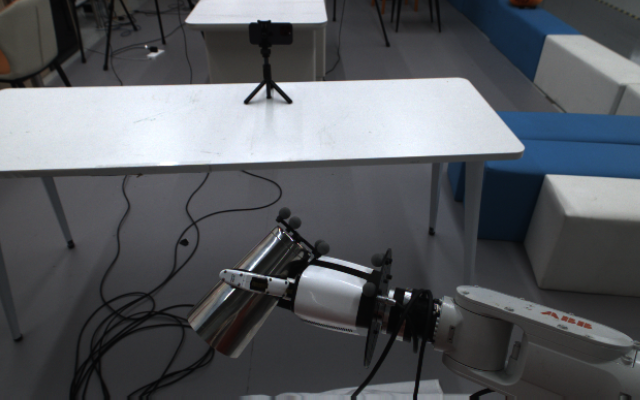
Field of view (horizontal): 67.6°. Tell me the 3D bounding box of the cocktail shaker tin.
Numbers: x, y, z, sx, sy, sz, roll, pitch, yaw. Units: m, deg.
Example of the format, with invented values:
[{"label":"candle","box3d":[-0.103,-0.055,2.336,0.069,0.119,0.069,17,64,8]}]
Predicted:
[{"label":"cocktail shaker tin","box3d":[-0.090,0.118,0.669,0.170,0.093,0.093,-48,49,-3]}]
